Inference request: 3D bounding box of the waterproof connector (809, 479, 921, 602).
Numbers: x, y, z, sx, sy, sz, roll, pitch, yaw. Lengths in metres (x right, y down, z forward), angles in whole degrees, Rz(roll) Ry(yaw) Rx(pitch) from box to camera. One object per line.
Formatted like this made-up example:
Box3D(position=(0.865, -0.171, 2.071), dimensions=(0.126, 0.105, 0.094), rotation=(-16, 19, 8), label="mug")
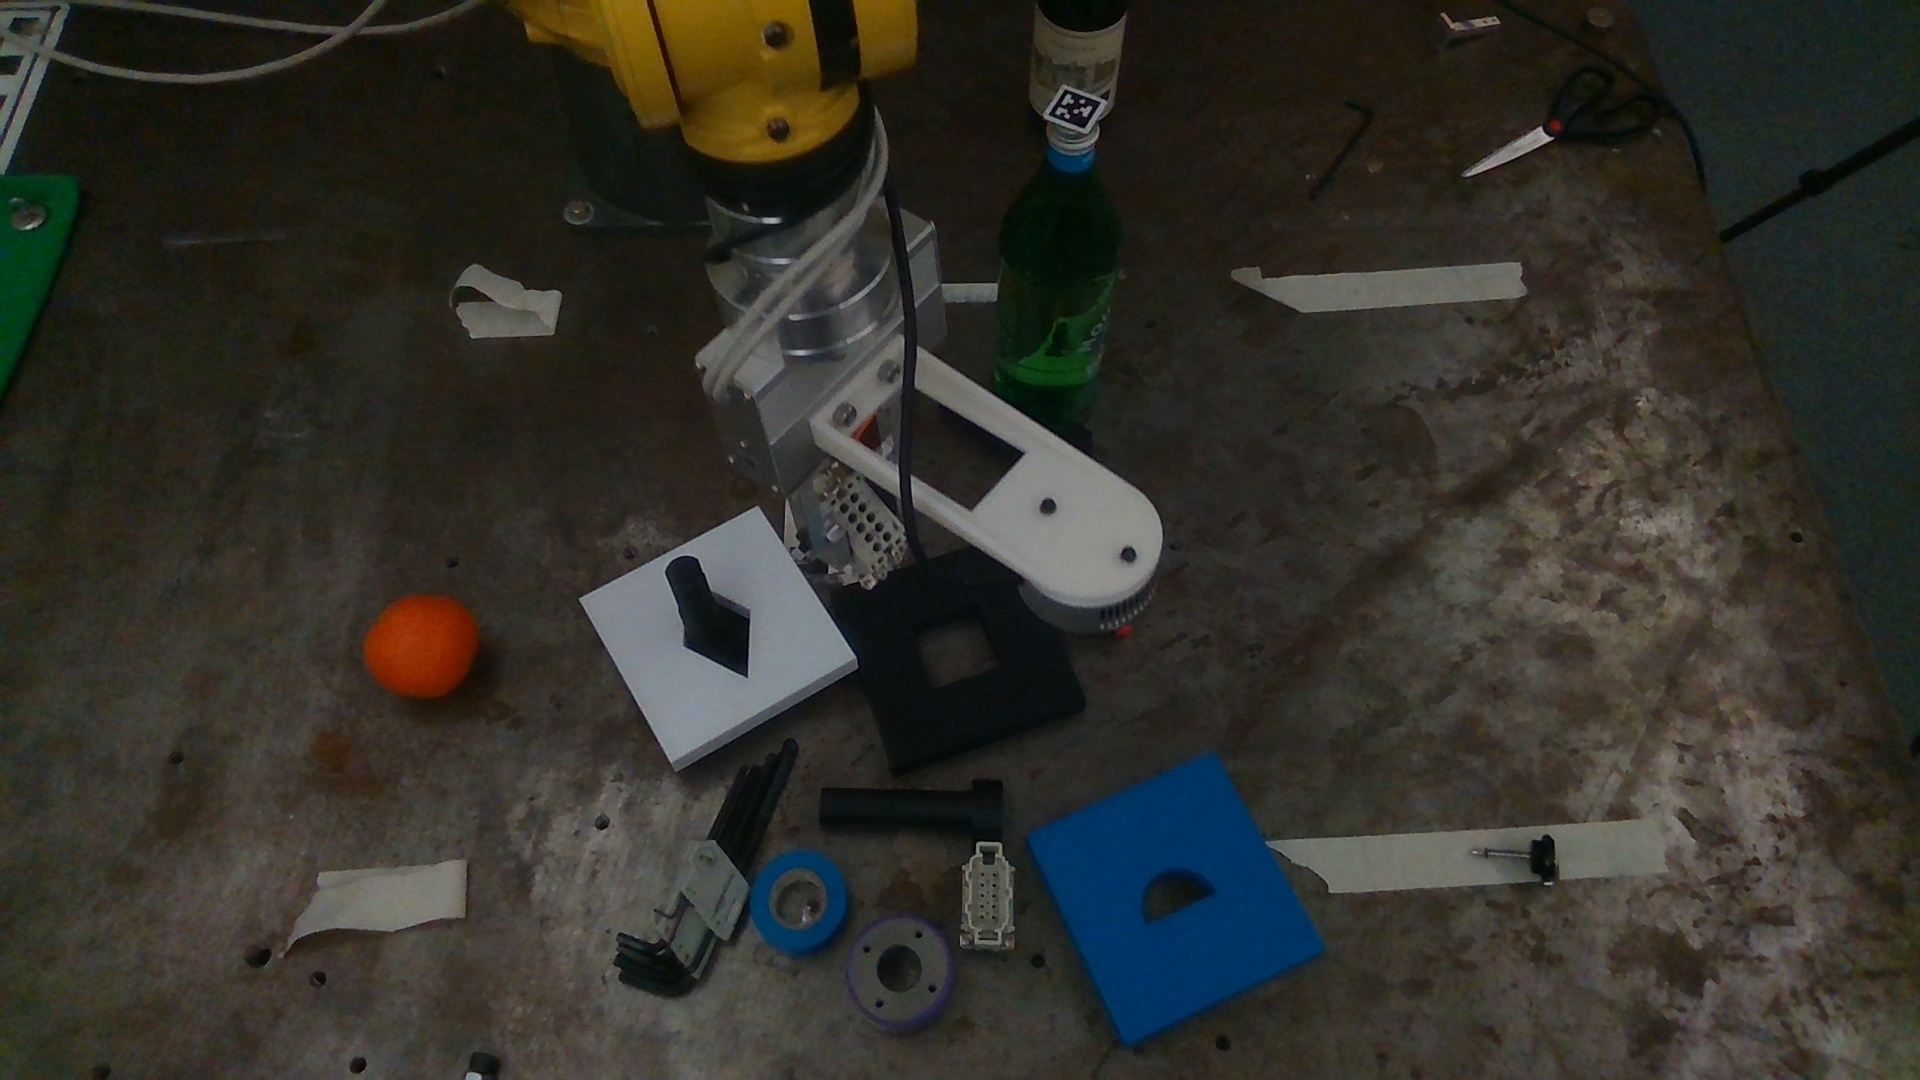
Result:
Box3D(position=(-0.055, 0.001, 0.786), dimensions=(0.036, 0.039, 0.069), rotation=(-46, 106, -27), label="waterproof connector")
